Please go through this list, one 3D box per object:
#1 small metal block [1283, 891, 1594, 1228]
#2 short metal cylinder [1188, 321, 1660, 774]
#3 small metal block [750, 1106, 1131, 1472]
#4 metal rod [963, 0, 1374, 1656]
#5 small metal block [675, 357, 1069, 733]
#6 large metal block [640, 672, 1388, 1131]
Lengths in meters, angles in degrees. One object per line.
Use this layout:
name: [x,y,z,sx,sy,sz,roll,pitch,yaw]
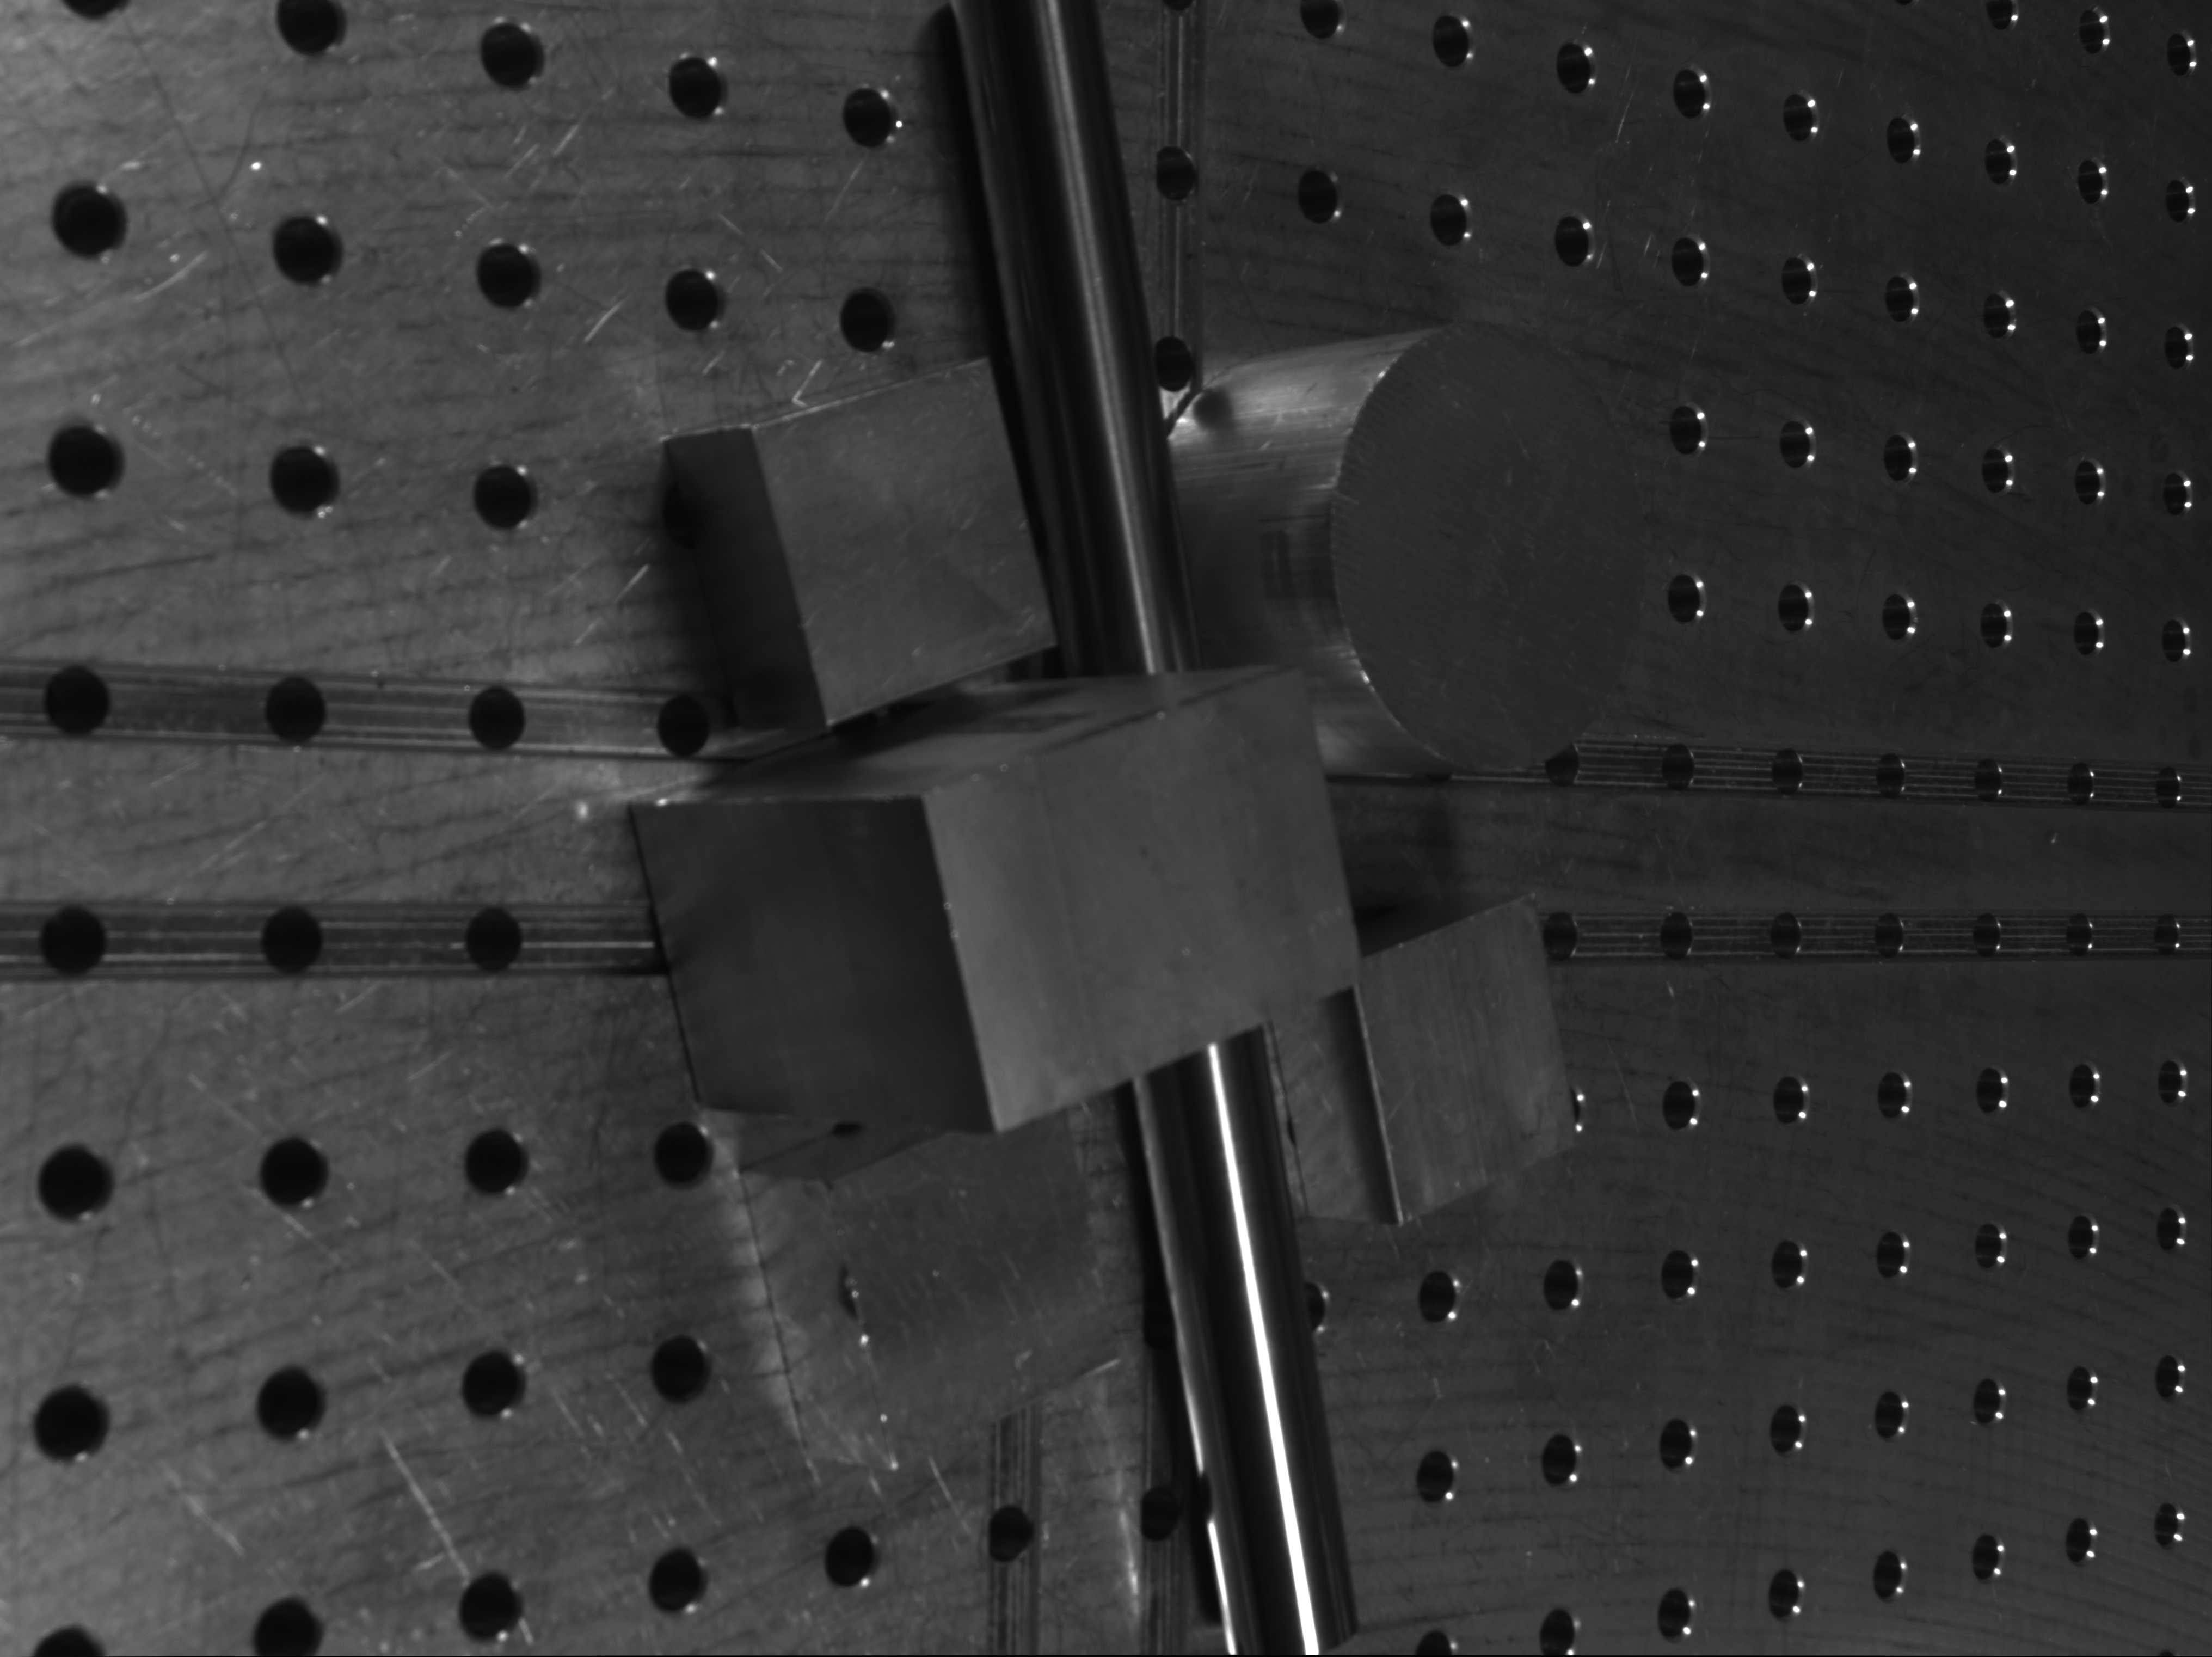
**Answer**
small metal block: [0.062,0.043,0.692,0.050,0.025,0.050,-19,102,-38]
short metal cylinder: [0.056,-0.050,0.670,0.080,0.050,0.080,0,90,-40]
small metal block: [-0.027,0.074,0.617,0.050,0.025,0.050,-20,102,-38]
metal rod: [0.012,0.001,0.650,0.025,0.025,0.300,-16,100,-39]
small metal block: [-0.038,-0.047,0.608,0.050,0.025,0.050,-22,104,-38]
large metal block: [-0.015,0.010,0.590,0.080,0.080,0.050,-20,102,-38]
